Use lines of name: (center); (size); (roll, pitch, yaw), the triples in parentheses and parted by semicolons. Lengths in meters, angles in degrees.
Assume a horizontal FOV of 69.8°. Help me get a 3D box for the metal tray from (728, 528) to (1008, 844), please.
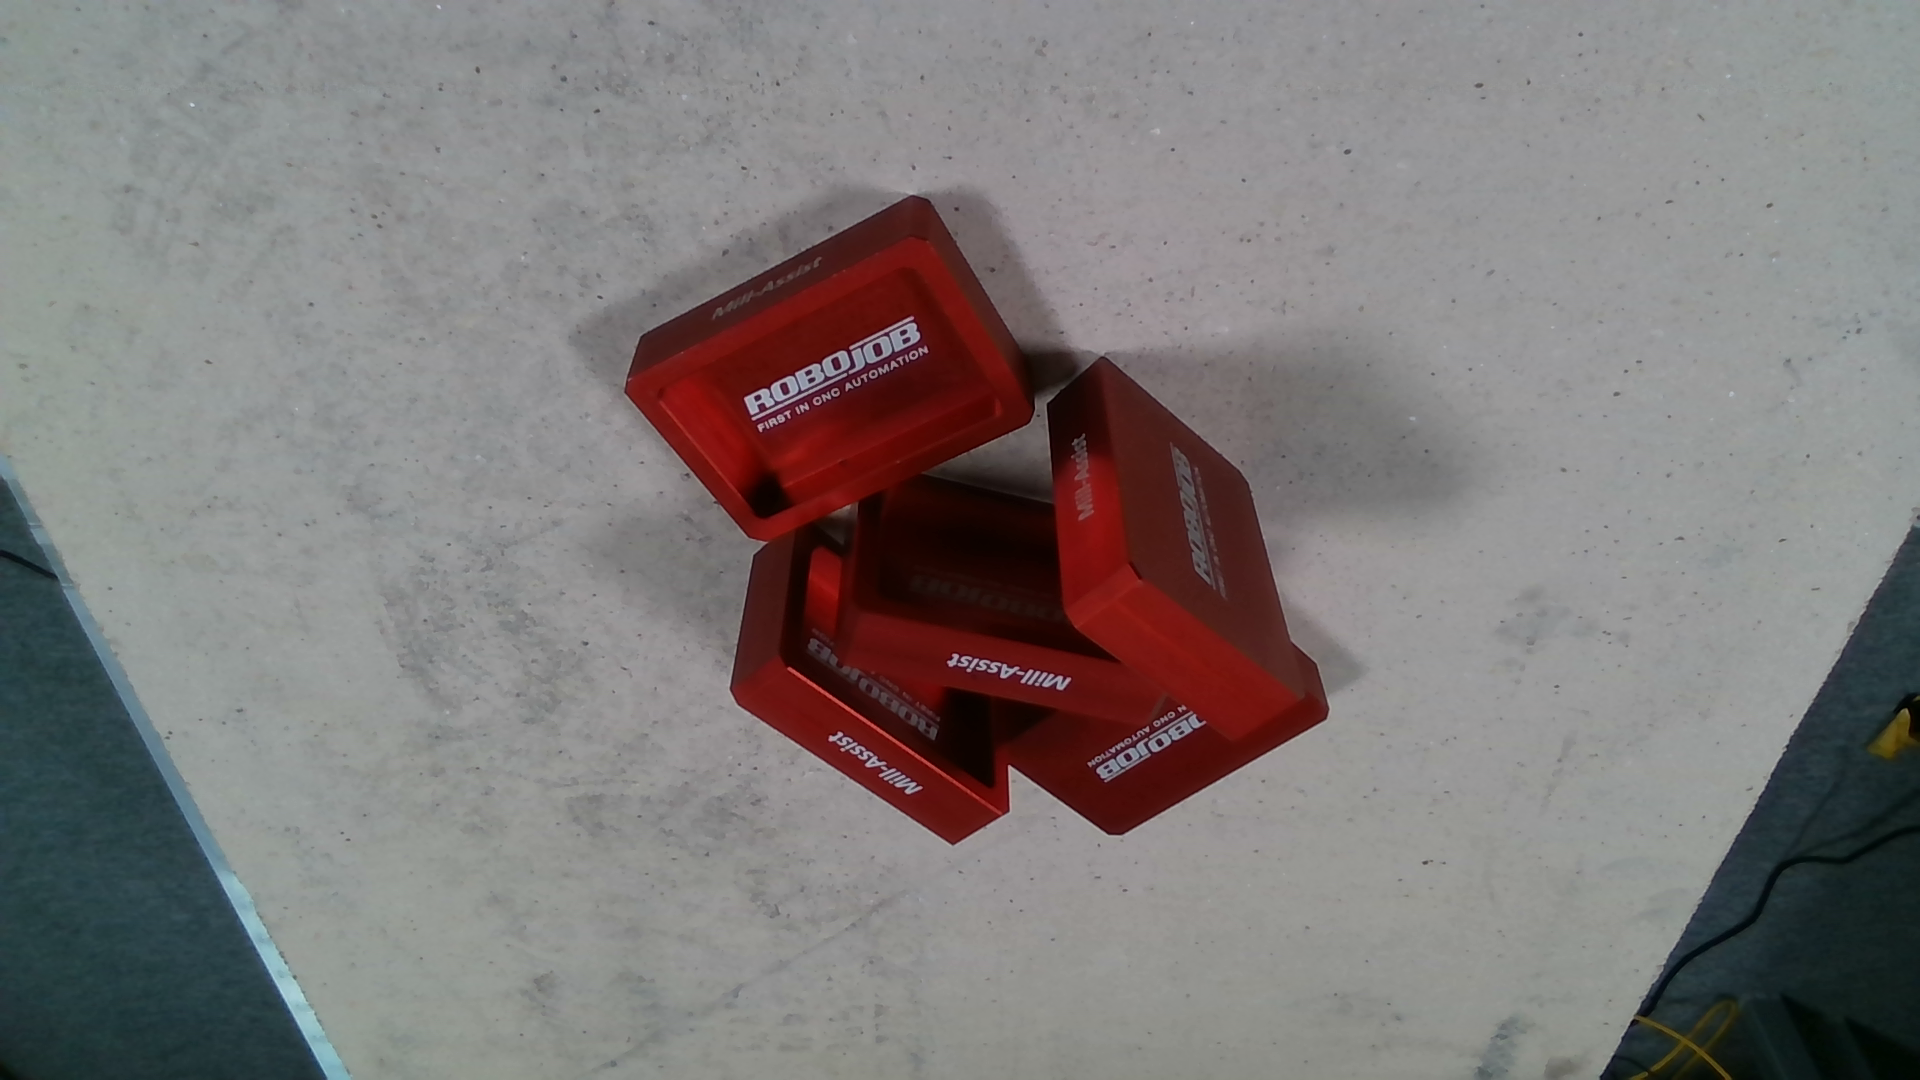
metal tray: (-0.035, 0.060, 0.587); (0.030, 0.090, 0.130); (-36, 121, 26)

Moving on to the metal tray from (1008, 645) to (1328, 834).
metal tray: (0.092, 0.079, 0.642); (0.130, 0.030, 0.090); (-37, 121, 27)

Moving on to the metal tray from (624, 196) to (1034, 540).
metal tray: (-0.048, -0.061, 0.524); (0.130, 0.030, 0.090); (-23, 126, 18)

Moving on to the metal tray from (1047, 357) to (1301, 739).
metal tray: (0.077, 0.000, 0.511); (0.090, 0.130, 0.030); (36, 122, -26)

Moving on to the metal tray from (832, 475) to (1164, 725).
metal tray: (0.018, 0.021, 0.554); (0.130, 0.090, 0.030); (13, 129, -10)
